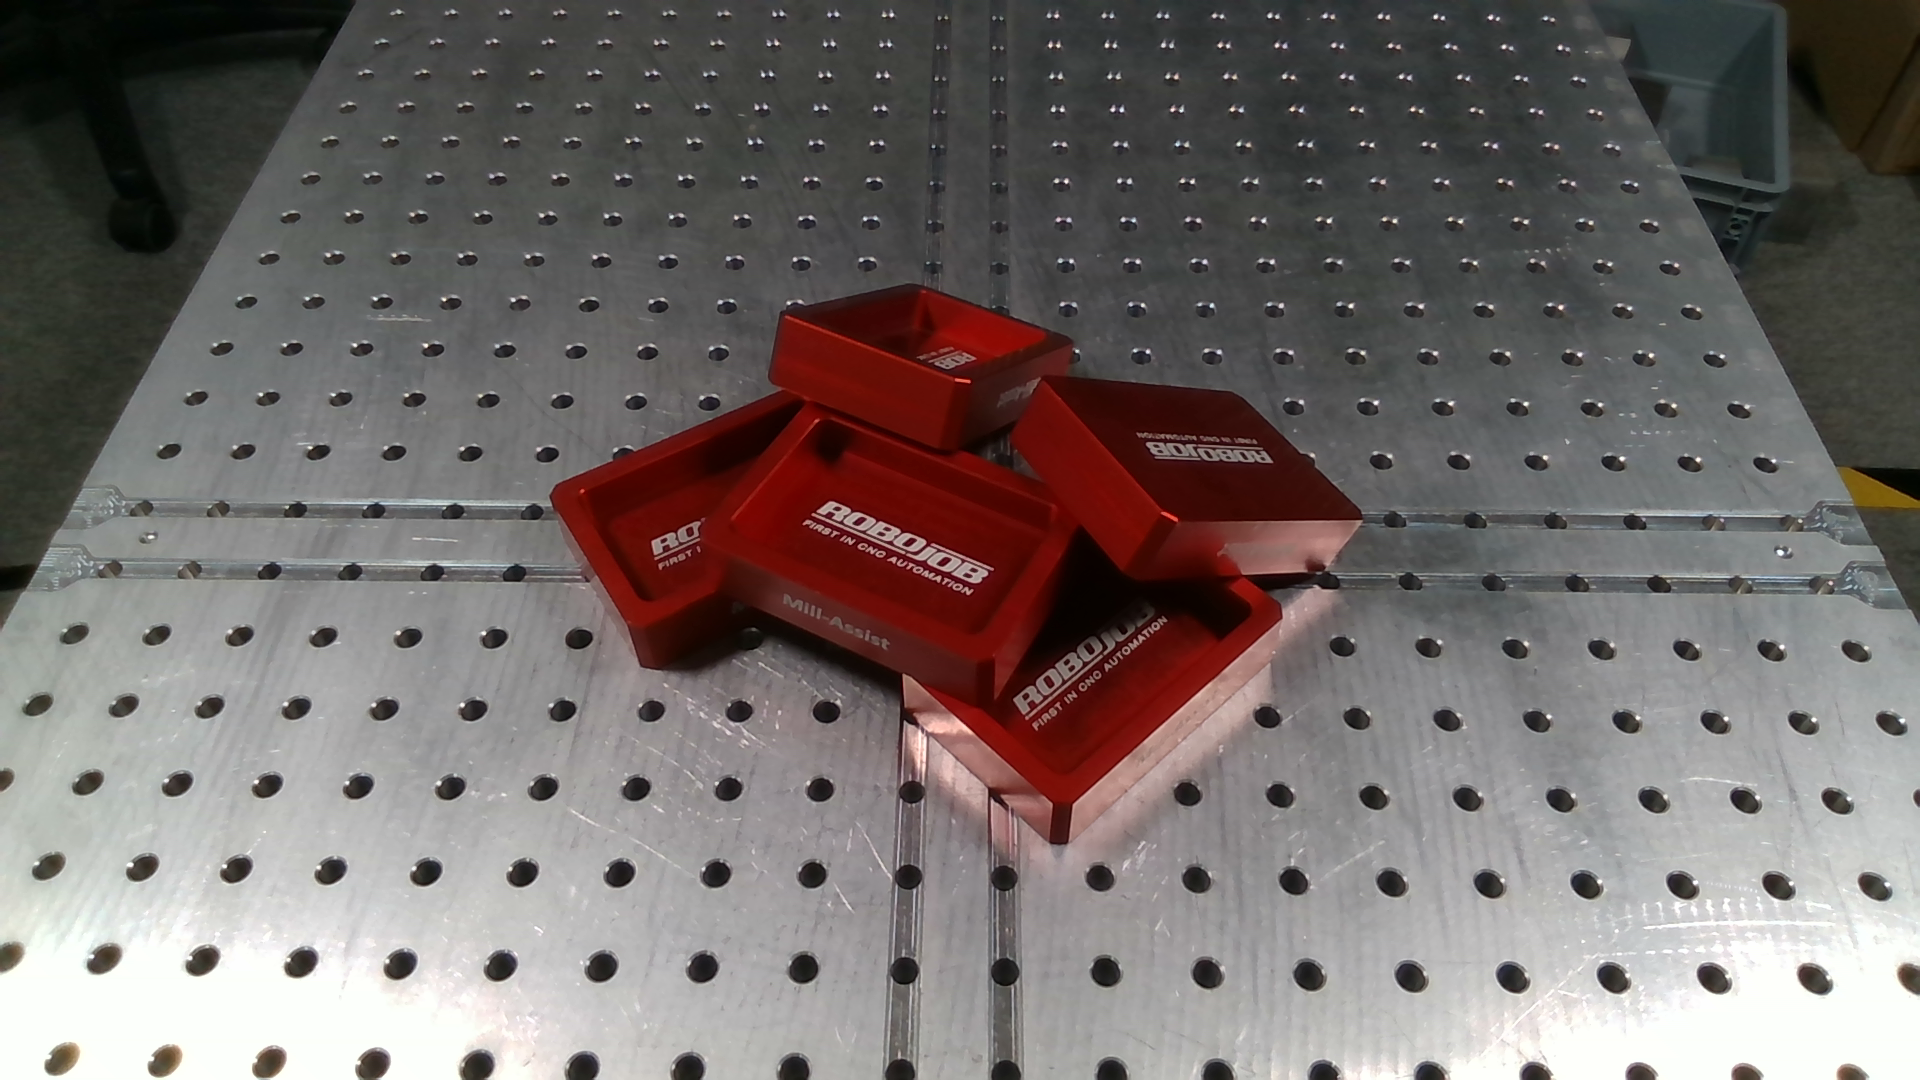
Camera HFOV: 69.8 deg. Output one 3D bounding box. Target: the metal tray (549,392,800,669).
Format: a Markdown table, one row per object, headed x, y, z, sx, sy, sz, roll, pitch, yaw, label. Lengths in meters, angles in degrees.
| x | y | z | sx | sy | sz | roll | pitch | yaw | label |
| --- | --- | --- | --- | --- | --- | --- | --- | --- | --- |
| -0.098 | -0.010 | 0.595 | 0.130 | 0.030 | 0.090 | -26 | 55 | -20 | metal tray |

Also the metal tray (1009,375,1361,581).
| x | y | z | sx | sy | sz | roll | pitch | yaw | label |
| --- | --- | --- | --- | --- | --- | --- | --- | --- | --- |
| 0.095 | -0.026 | 0.569 | 0.130 | 0.030 | 0.090 | -1 | 42 | -42 | metal tray |

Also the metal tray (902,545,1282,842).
| x | y | z | sx | sy | sz | roll | pitch | yaw | label |
| --- | --- | --- | --- | --- | --- | --- | --- | --- | --- |
| 0.052 | 0.047 | 0.547 | 0.130 | 0.030 | 0.090 | -36 | 59 | -26 | metal tray |

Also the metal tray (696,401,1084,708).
| x | y | z | sx | sy | sz | roll | pitch | yaw | label |
| --- | --- | --- | --- | --- | --- | --- | --- | --- | --- |
| -0.026 | 0.002 | 0.546 | 0.130 | 0.030 | 0.090 | 23 | 54 | 18 | metal tray |

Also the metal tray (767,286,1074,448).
| x | y | z | sx | sy | sz | roll | pitch | yaw | label |
| --- | --- | --- | --- | --- | --- | --- | --- | --- | --- |
| -0.014 | -0.082 | 0.615 | 0.090 | 0.030 | 0.130 | 22 | 23 | 18 | metal tray |
